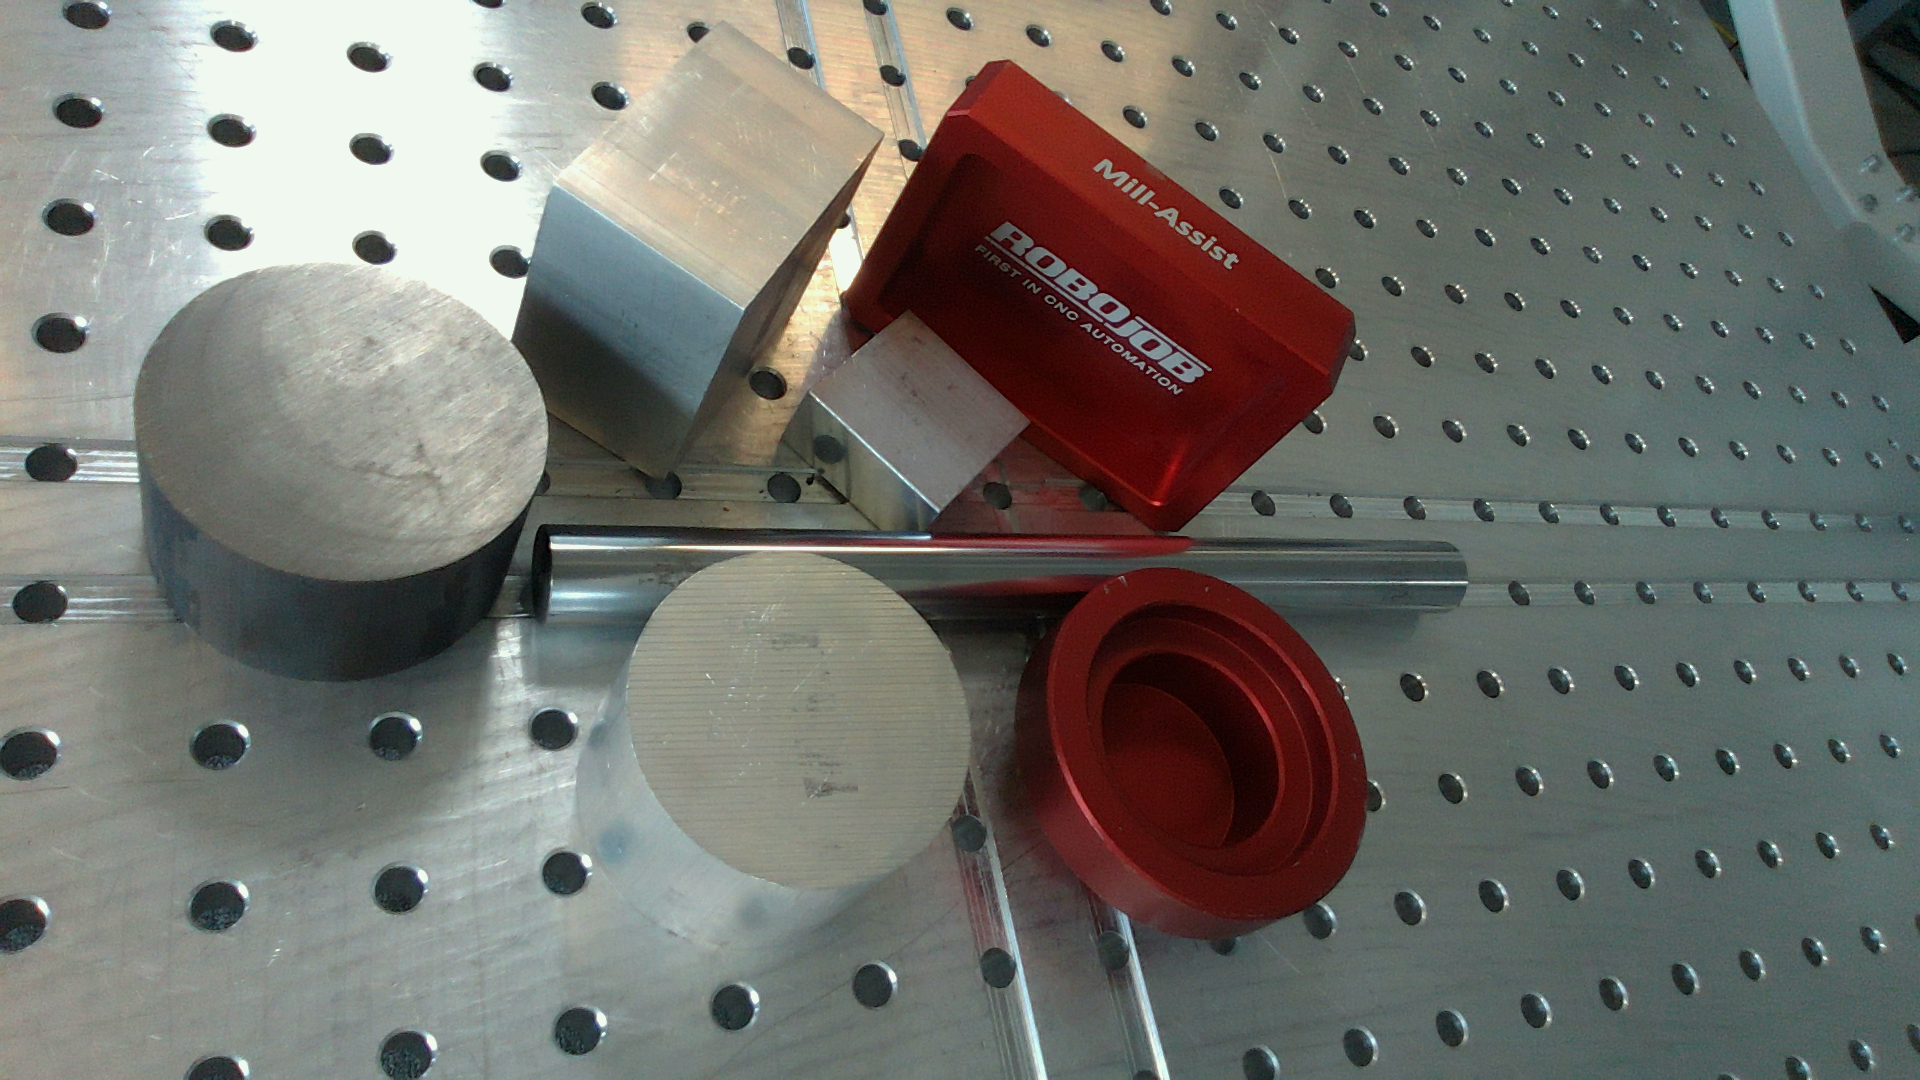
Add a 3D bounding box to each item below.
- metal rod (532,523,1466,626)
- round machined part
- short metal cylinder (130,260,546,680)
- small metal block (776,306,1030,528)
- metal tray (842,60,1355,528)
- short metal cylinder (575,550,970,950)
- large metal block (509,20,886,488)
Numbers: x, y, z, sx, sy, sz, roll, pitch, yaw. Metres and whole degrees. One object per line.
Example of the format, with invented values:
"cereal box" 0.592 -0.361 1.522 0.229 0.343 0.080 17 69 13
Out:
"metal rod" 0.031 0.010 0.403 0.301 0.025 0.025 1 61 -28
"round machined part" 0.058 0.060 0.376 0.098 0.042 0.098 14 56 -21
"short metal cylinder" -0.139 -0.015 0.310 0.080 0.050 0.080 14 56 -21
"small metal block" -0.016 -0.033 0.404 0.050 0.025 0.050 43 51 2
"metal tray" 0.039 -0.068 0.413 0.130 0.090 0.030 35 51 -5
"short metal cylinder" -0.044 0.049 0.322 0.080 0.050 0.080 14 56 -21
"large metal block" -0.072 -0.074 0.364 0.050 0.080 0.080 34 51 -7
